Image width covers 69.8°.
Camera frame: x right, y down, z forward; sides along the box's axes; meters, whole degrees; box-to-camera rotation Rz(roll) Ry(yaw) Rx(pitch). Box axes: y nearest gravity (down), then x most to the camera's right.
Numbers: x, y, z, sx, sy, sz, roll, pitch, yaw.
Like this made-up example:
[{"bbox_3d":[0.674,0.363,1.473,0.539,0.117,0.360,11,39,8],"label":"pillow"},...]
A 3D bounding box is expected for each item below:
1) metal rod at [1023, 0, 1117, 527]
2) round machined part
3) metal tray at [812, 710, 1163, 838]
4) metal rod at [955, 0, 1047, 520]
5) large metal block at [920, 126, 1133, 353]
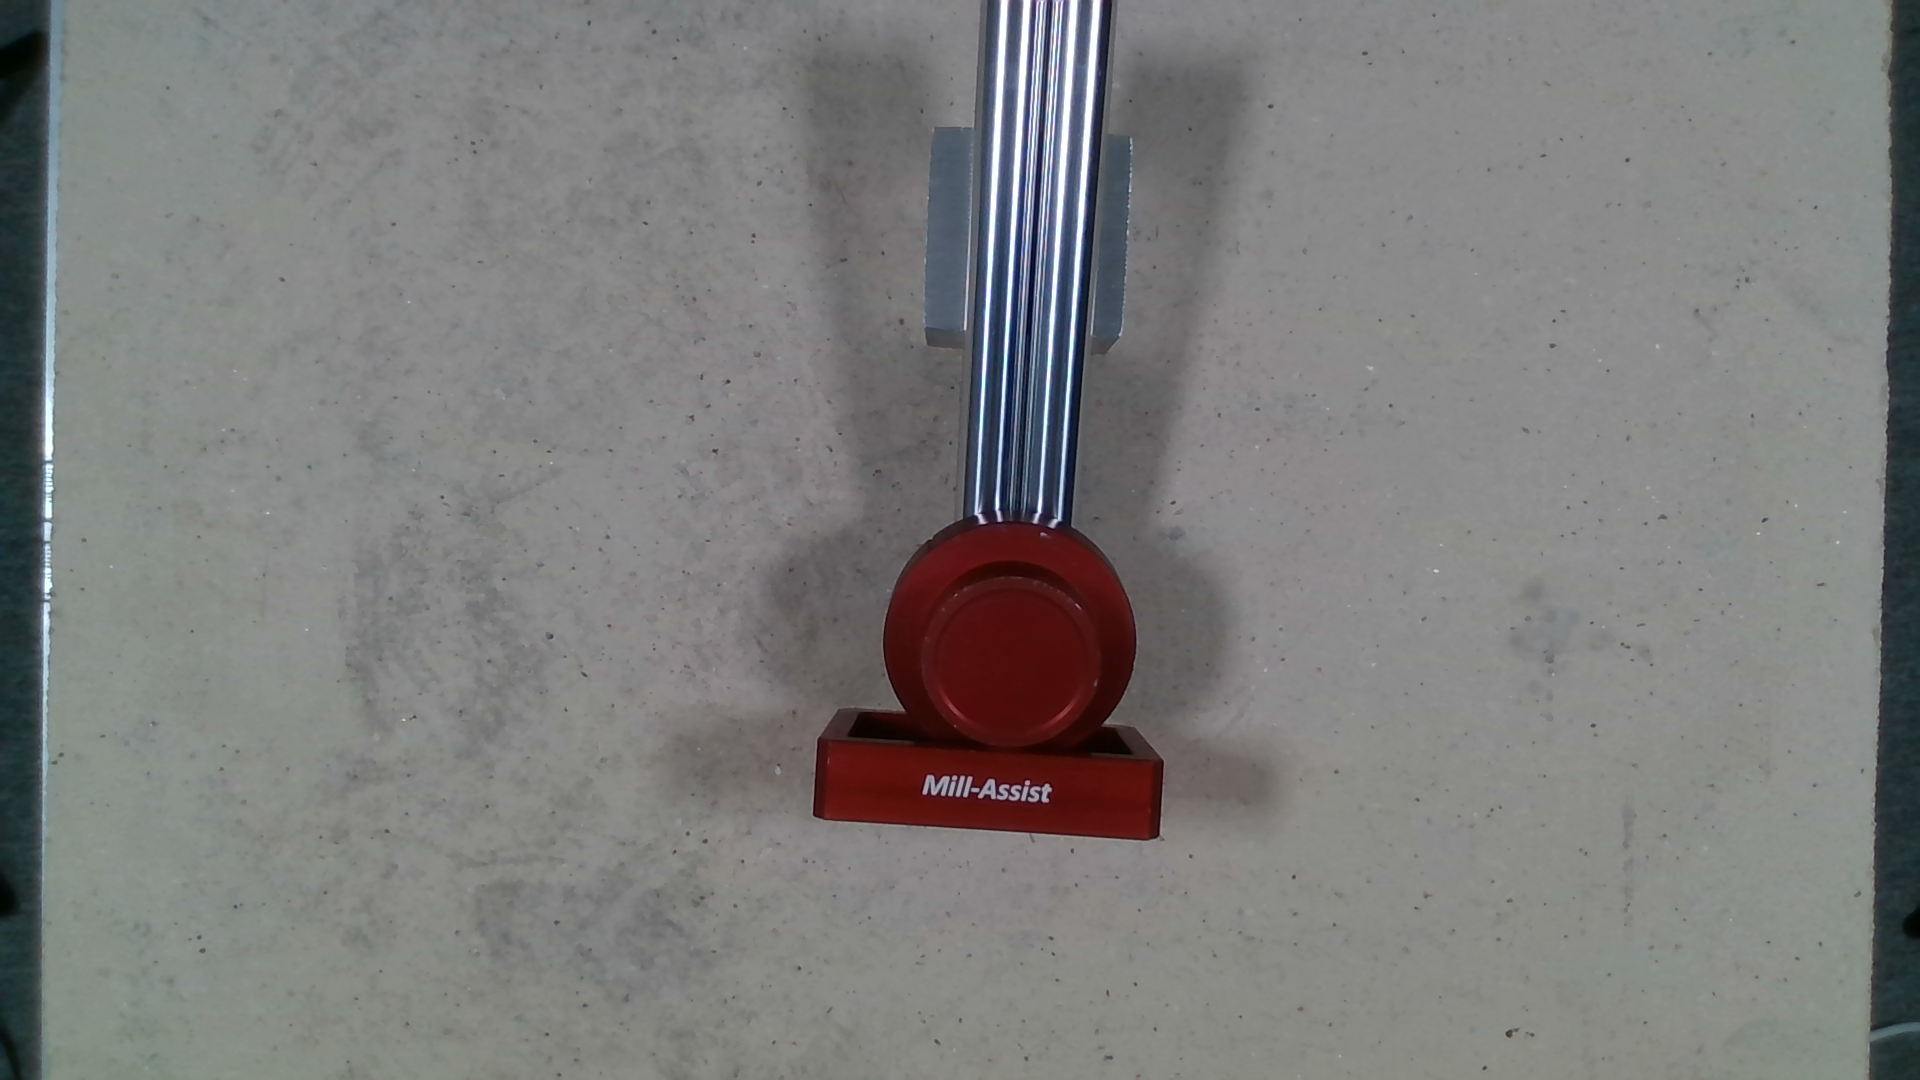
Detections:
[{"bbox_3d":[0.040,-0.058,0.542,0.025,0.025,0.300,2,103,0],"label":"metal rod"},{"bbox_3d":[0.019,0.040,0.530,0.098,0.042,0.098,0,101,2],"label":"round machined part"},{"bbox_3d":[0.010,0.092,0.555,0.130,0.090,0.030,3,90,0],"label":"metal tray"},{"bbox_3d":[0.013,-0.060,0.542,0.025,0.025,0.300,3,103,0],"label":"metal rod"},{"bbox_3d":[0.026,-0.122,0.570,0.080,0.050,0.080,3,90,0],"label":"large metal block"}]
